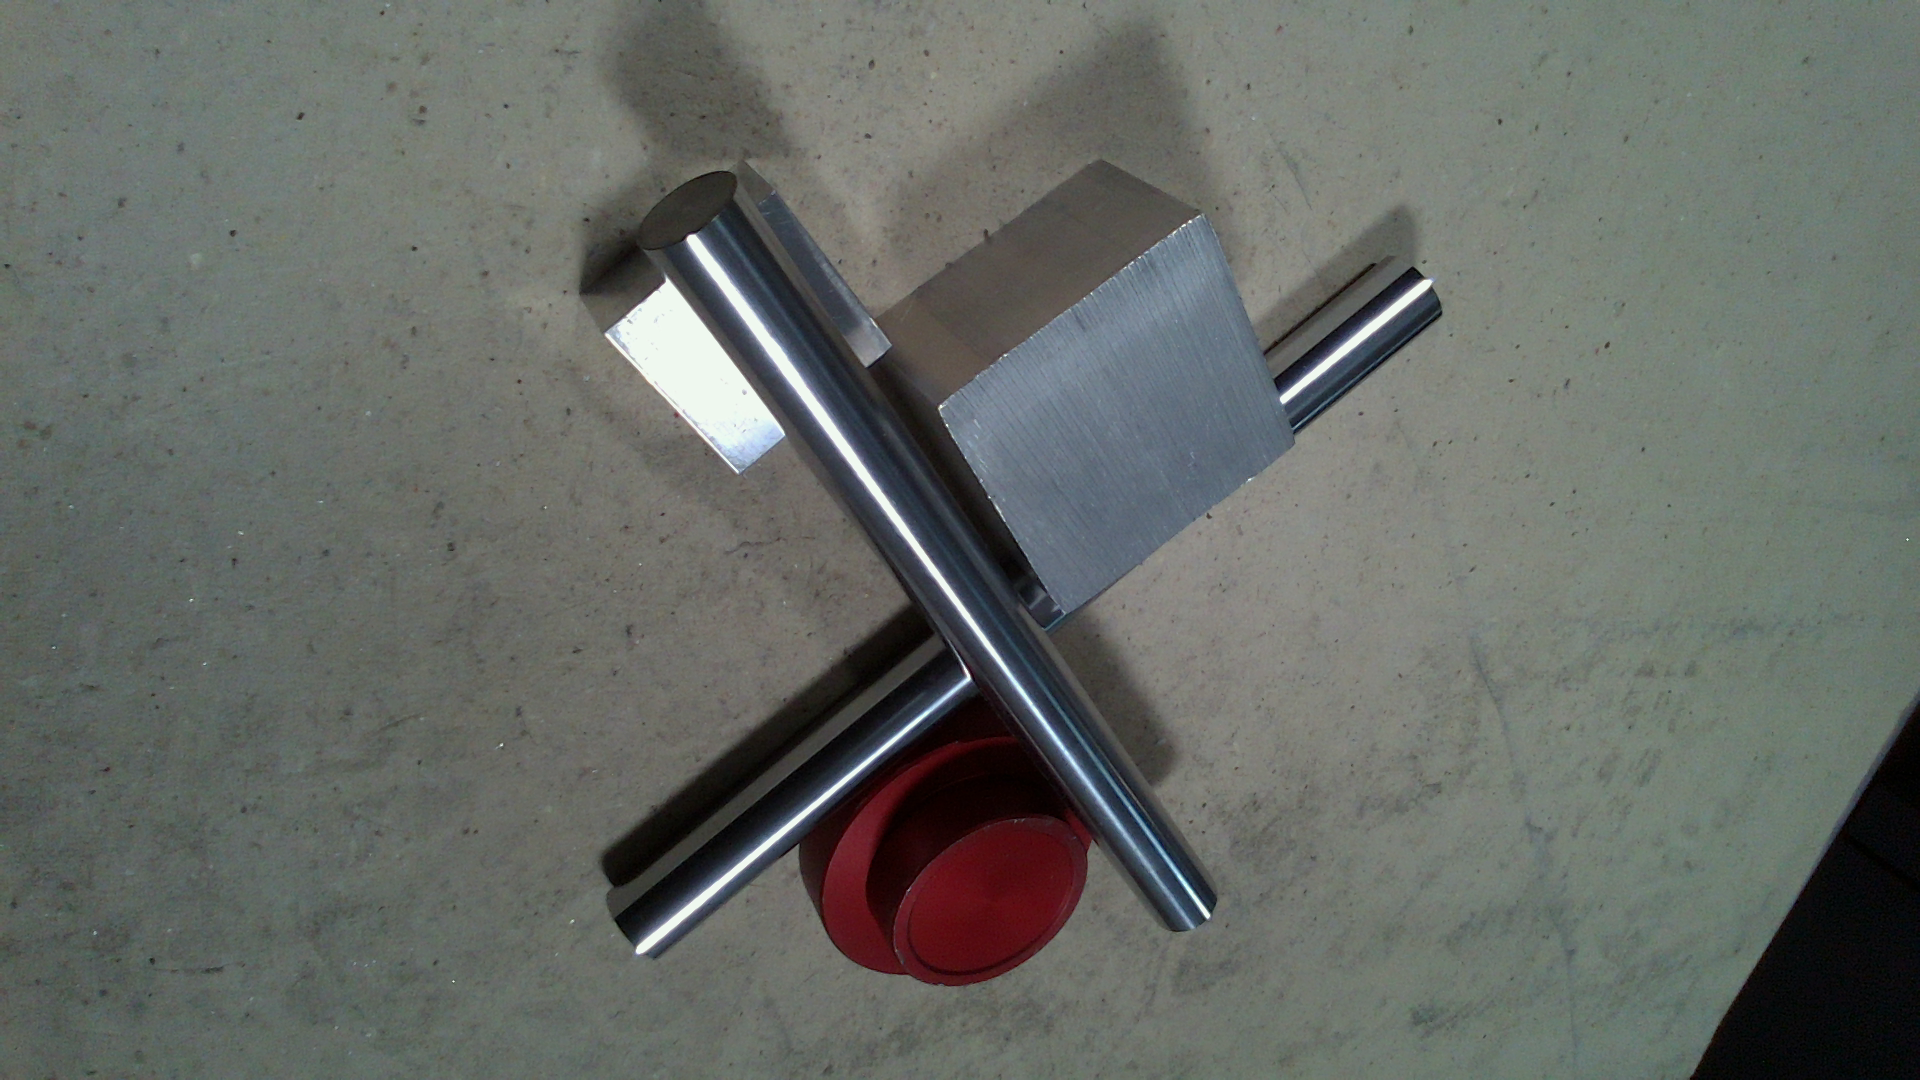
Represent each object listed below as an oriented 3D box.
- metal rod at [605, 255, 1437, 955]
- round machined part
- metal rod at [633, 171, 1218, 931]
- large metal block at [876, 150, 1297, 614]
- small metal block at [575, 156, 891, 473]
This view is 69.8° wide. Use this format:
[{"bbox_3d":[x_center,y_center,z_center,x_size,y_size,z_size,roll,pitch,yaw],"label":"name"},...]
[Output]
[{"bbox_3d":[0.020,0.018,0.413,0.300,0.025,0.025,-39,129,-2],"label":"metal rod"},{"bbox_3d":[0.002,0.103,0.442,0.098,0.042,0.098,-14,124,-21],"label":"round machined part"},{"bbox_3d":[0.010,0.028,0.379,0.025,0.025,0.301,-37,129,-3],"label":"metal rod"},{"bbox_3d":[0.033,-0.042,0.367,0.080,0.050,0.080,-36,129,-4],"label":"large metal block"},{"bbox_3d":[-0.054,-0.053,0.329,0.050,0.025,0.050,-40,129,-1],"label":"small metal block"}]
